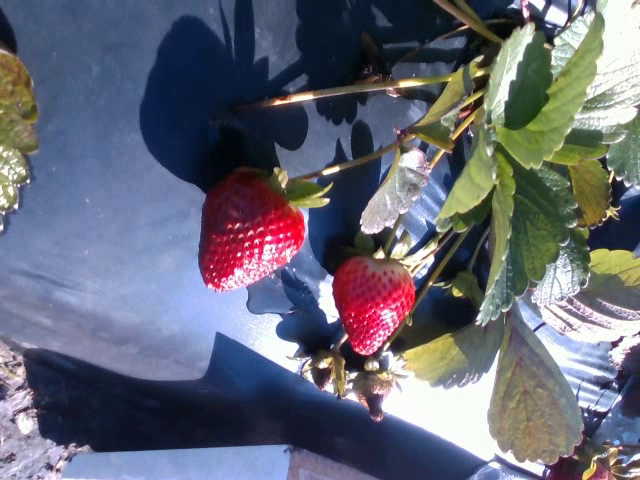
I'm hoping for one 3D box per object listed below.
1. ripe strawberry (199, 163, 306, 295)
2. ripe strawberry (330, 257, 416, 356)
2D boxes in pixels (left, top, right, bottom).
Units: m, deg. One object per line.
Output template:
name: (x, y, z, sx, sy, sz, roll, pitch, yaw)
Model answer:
ripe strawberry: (-0.031, 0.000, 0.225, 0.044, 0.050, 0.051, 20, -18, 40)
ripe strawberry: (0.023, 0.030, 0.264, 0.042, 0.049, 0.039, 12, -2, 6)
